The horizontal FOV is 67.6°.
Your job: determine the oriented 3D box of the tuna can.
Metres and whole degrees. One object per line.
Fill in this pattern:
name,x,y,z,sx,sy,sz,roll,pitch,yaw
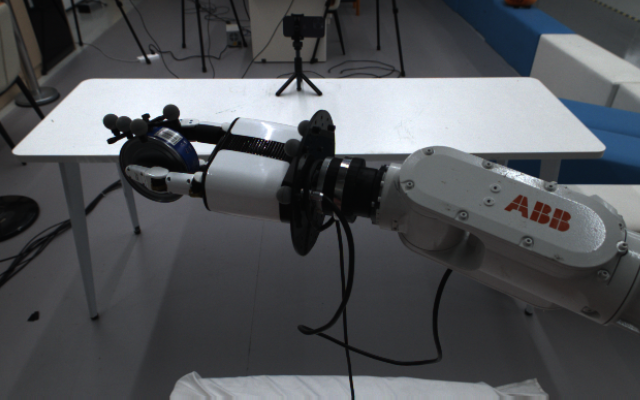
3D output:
tuna can,-0.181,-0.040,0.562,0.085,0.085,0.034,9,33,10
